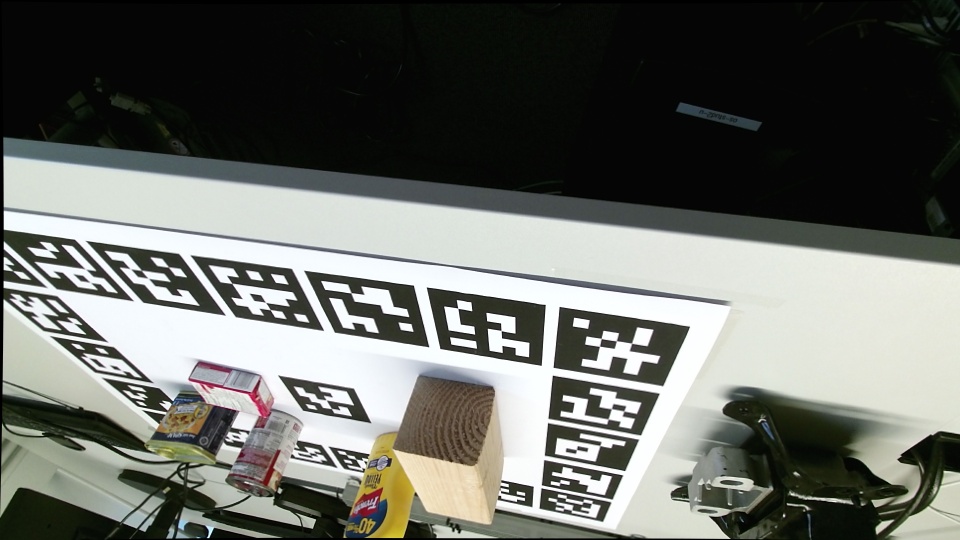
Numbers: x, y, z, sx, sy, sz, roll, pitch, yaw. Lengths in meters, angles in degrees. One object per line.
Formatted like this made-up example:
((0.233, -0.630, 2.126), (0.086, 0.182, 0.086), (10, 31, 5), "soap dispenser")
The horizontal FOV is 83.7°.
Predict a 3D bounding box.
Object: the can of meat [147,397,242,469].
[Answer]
((-0.404, 0.231, 0.768), (0.102, 0.083, 0.058), (-1, 136, 23), "can of meat")

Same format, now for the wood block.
((-0.028, 0.222, 0.629), (0.091, 0.089, 0.206), (9, 144, 11), "wood block")

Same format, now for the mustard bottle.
((-0.128, 0.314, 0.695), (0.096, 0.190, 0.058), (-11, 134, 30), "mustard bottle")

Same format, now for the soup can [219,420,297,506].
((-0.312, 0.272, 0.755), (0.068, 0.101, 0.068), (9, 138, 8), "soup can")

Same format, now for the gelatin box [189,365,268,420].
((-0.329, 0.162, 0.698), (0.090, 0.030, 0.073), (12, 138, 1), "gelatin box")
